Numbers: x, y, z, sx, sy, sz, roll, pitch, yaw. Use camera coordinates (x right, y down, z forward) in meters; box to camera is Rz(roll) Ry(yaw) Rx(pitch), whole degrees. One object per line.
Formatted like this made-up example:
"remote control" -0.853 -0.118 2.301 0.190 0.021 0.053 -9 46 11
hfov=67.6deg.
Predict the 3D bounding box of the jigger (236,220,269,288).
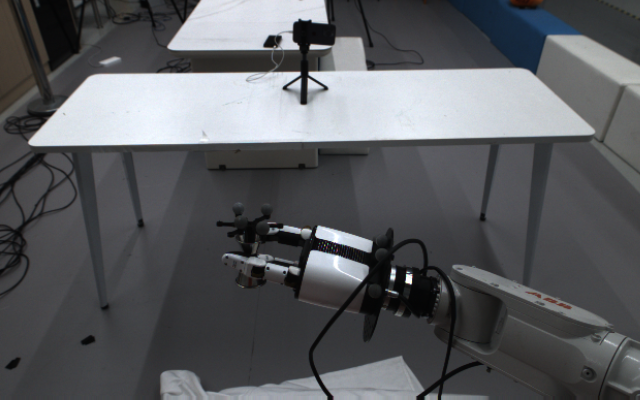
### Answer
"jigger" -0.095 0.080 0.670 0.043 0.071 0.043 2 20 -1
